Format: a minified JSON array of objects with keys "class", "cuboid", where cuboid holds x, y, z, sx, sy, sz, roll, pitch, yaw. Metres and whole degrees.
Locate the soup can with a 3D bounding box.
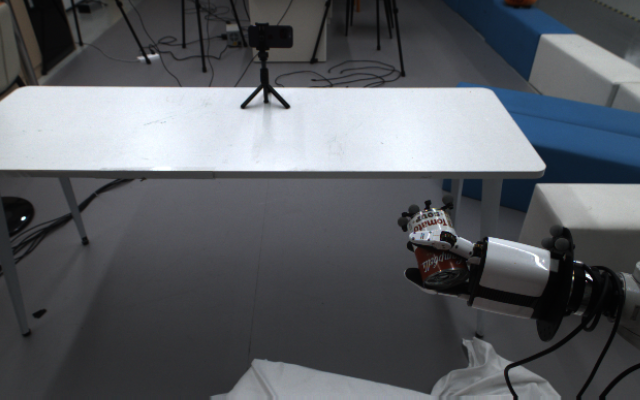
[{"class":"soup can","cuboid":[0.174,0.071,0.712,0.067,0.067,0.101,-5,57,-10]}]
